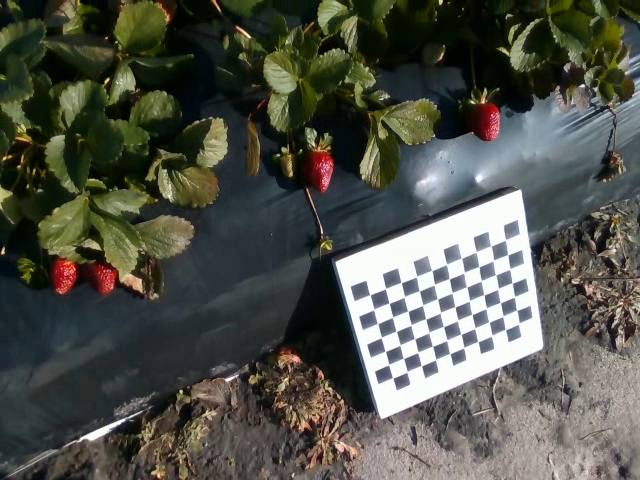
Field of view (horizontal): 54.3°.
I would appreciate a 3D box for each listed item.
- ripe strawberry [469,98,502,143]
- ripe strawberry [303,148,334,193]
[{"bbox_3d":[0.195,-0.135,0.719,0.042,0.050,0.043,13,-34,-25],"label":"ripe strawberry"},{"bbox_3d":[-0.001,-0.077,0.683,0.041,0.053,0.043,-11,-22,-18],"label":"ripe strawberry"}]
